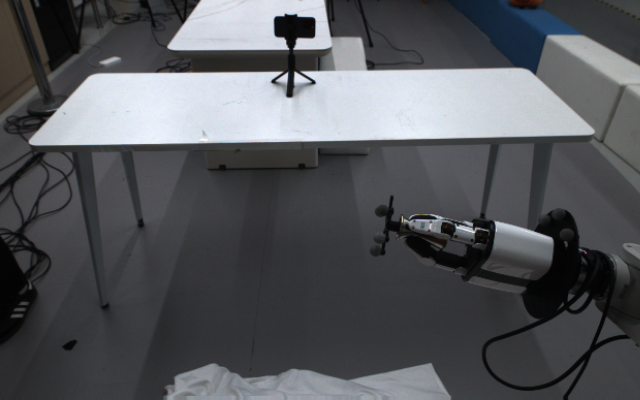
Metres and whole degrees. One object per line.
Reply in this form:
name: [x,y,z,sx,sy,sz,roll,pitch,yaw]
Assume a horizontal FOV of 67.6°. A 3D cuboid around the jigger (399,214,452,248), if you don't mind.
jigger: [0.154,0.042,0.701,0.071,0.043,0.043,11,35,3]
